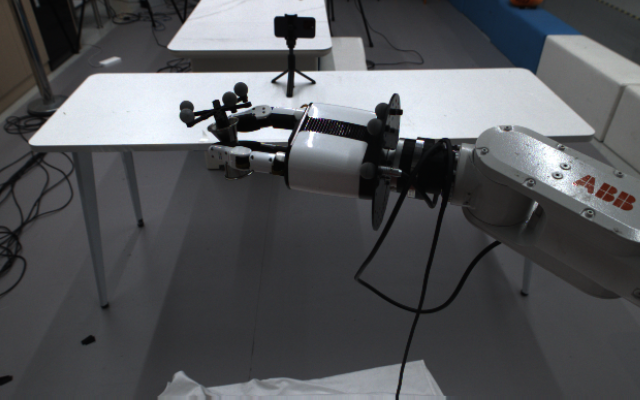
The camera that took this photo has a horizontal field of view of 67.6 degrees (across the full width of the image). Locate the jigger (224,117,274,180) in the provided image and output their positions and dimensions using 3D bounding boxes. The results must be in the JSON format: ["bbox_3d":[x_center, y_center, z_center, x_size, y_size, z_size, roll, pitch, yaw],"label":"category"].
[{"bbox_3d":[-0.109,-0.064,0.607,0.043,0.071,0.043,-12,29,7],"label":"jigger"}]
